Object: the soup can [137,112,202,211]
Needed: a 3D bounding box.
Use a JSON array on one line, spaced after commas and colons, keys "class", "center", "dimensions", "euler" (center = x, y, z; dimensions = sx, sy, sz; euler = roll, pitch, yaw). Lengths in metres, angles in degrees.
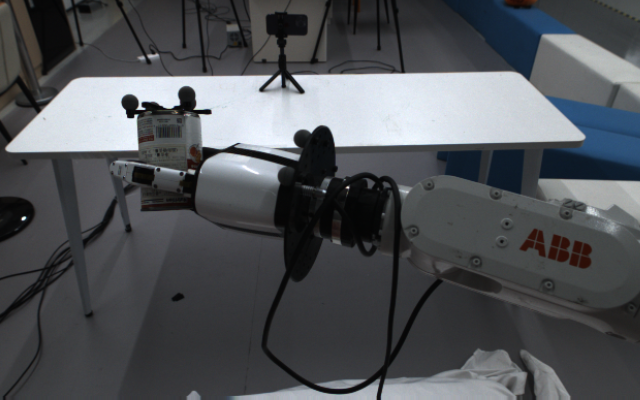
[{"class": "soup can", "center": [-0.158, -0.039, 0.520], "dimensions": [0.067, 0.101, 0.067], "euler": [-3, -1, 0]}]
